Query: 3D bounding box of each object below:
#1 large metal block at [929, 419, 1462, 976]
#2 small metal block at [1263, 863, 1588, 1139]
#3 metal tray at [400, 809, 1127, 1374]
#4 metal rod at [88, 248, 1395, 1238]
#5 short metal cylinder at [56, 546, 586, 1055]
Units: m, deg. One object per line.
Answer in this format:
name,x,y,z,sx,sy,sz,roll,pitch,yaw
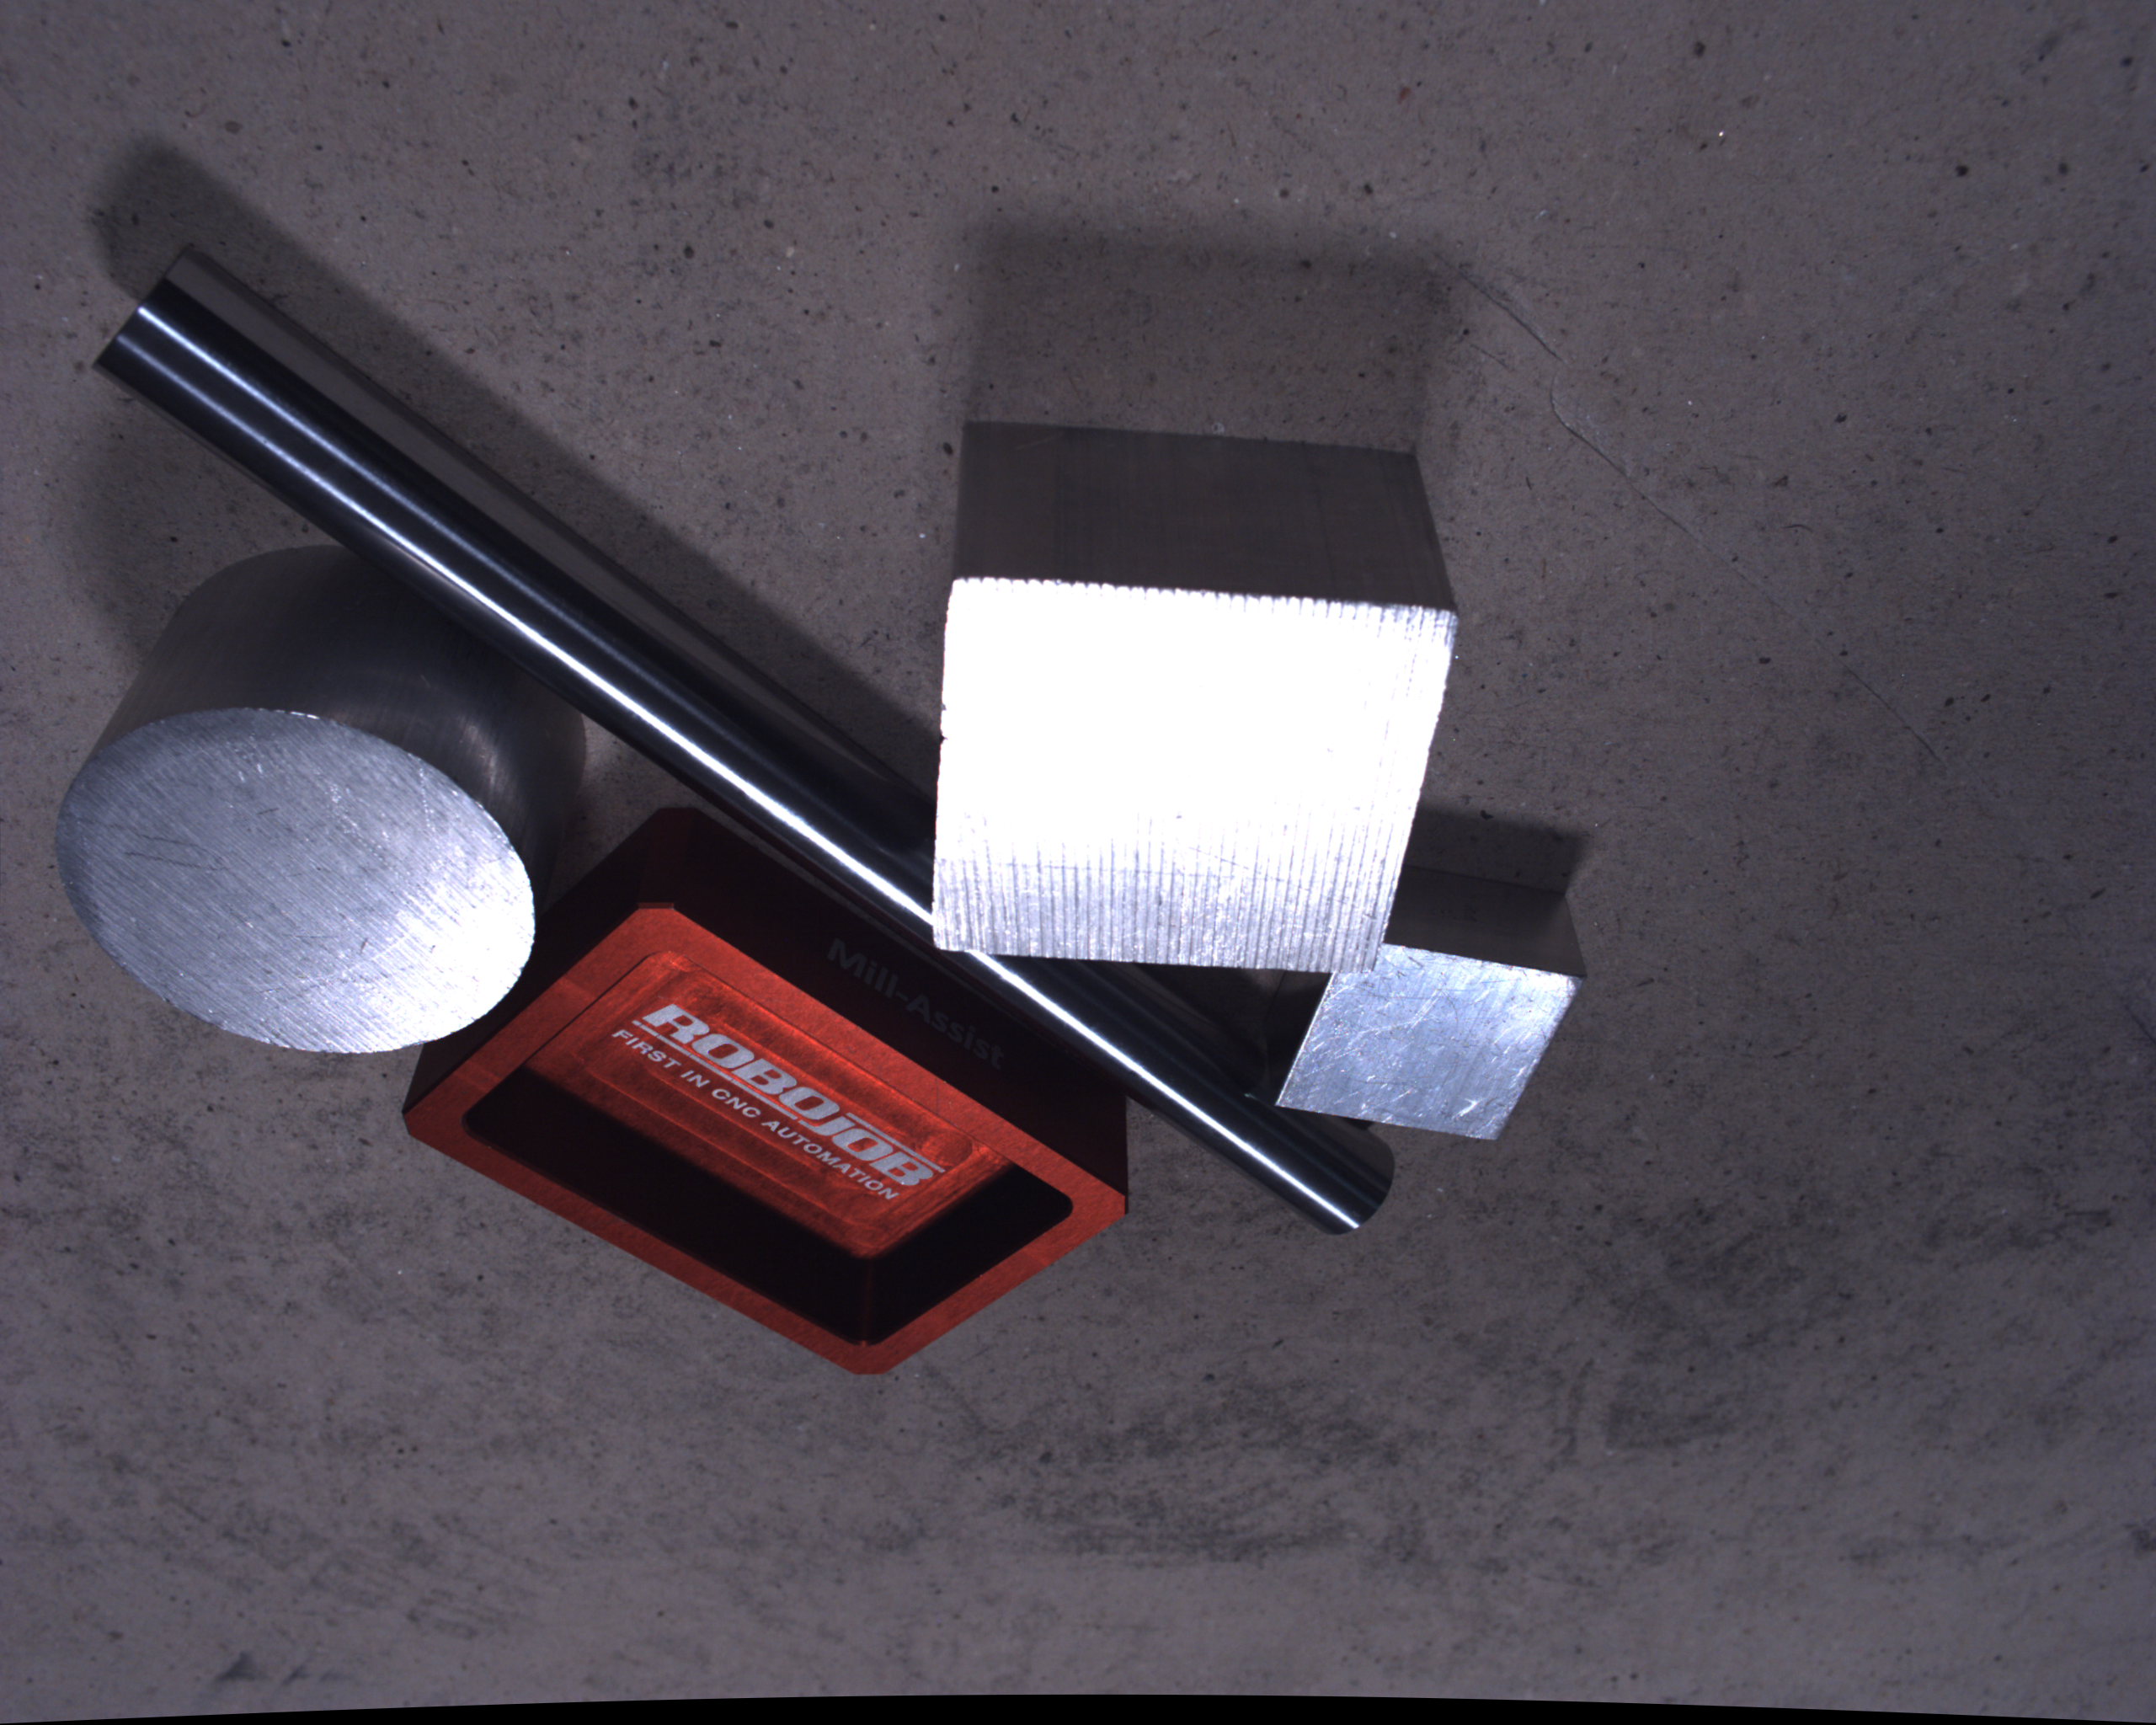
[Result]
large metal block,0.017,-0.028,0.369,0.081,0.050,0.079,3,130,-3
small metal block,0.071,0.028,0.434,0.050,0.025,0.050,10,130,-9
metal tray,-0.064,0.054,0.451,0.130,0.030,0.090,36,121,-27
metal rod,-0.044,-0.007,0.401,0.025,0.025,0.301,-37,122,27
short metal cylinder,-0.135,-0.011,0.381,0.081,0.050,0.079,0,130,0
